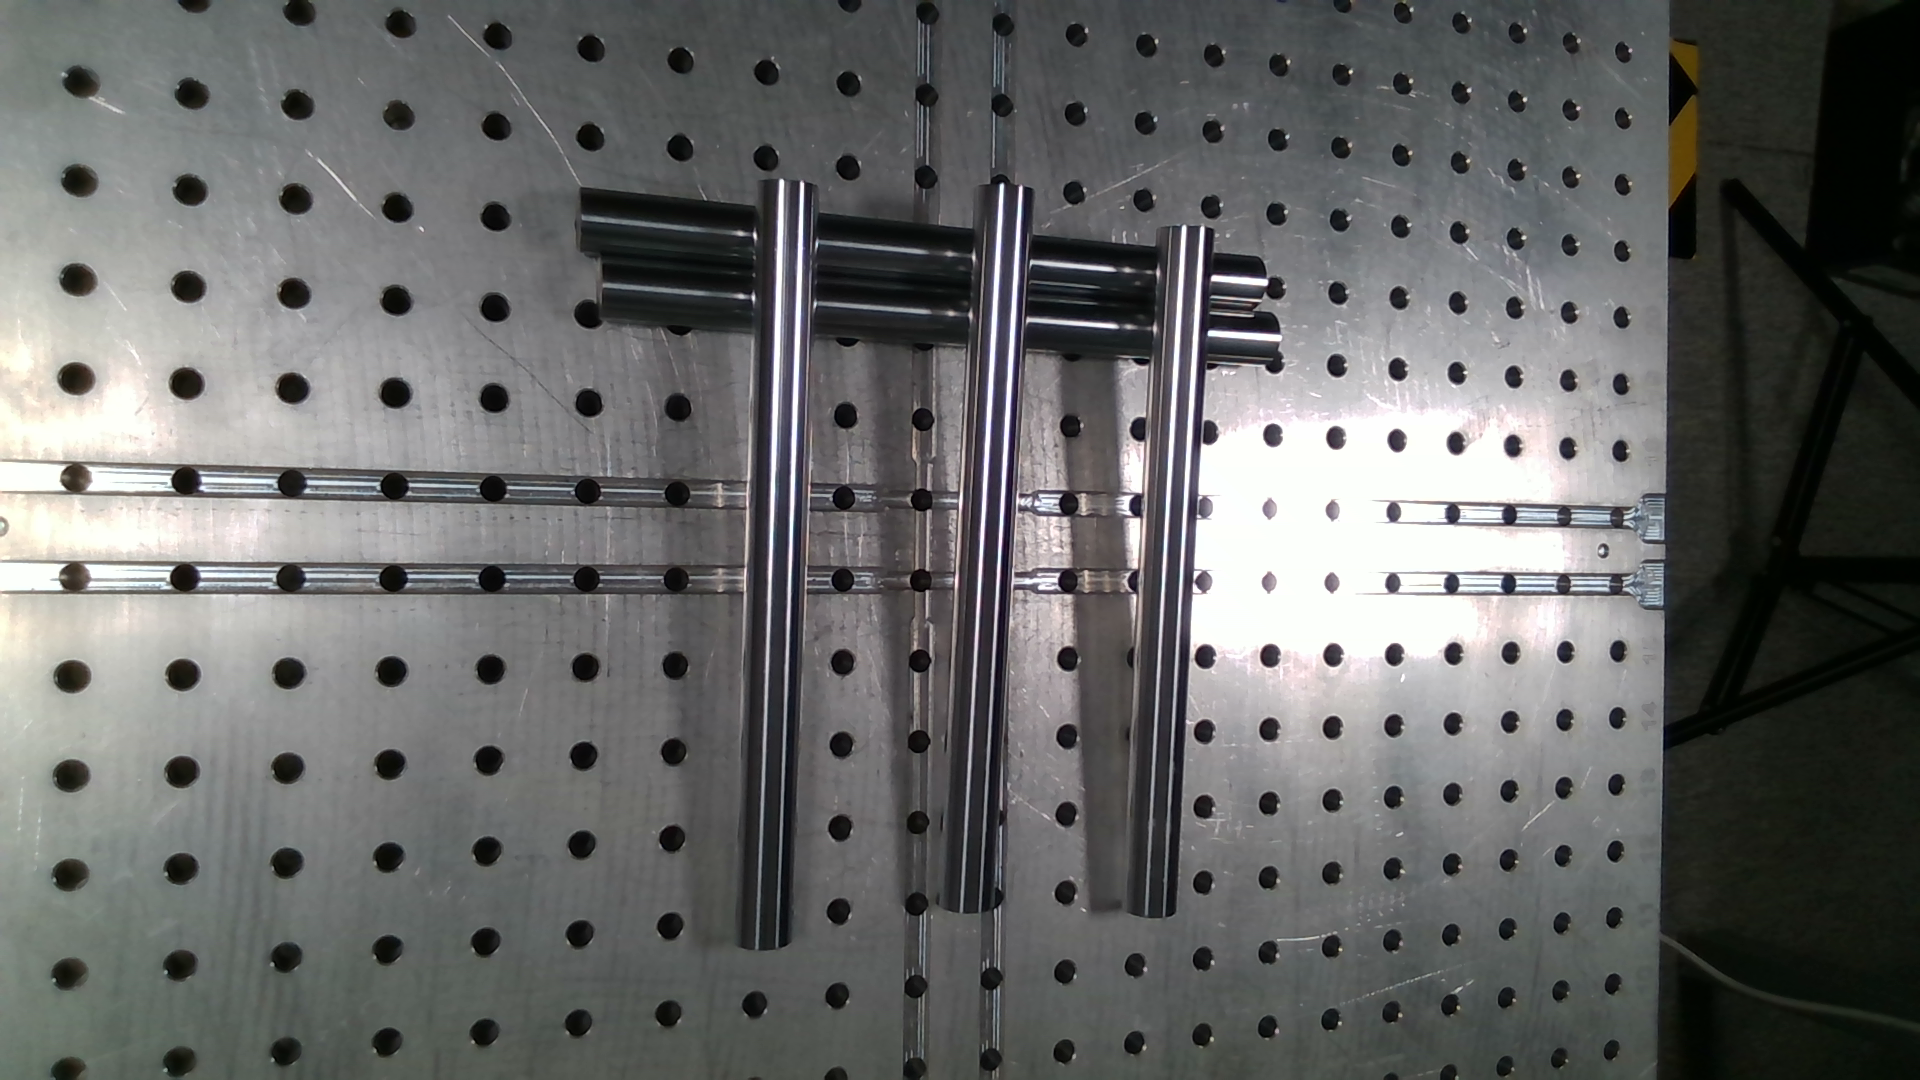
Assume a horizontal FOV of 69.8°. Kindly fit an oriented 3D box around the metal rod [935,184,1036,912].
[{"bbox_3d":[0.010,0.006,0.576,0.025,0.025,0.300,1,96,-20],"label":"metal rod"}]

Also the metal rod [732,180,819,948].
[{"bbox_3d":[-0.073,0.012,0.546,0.025,0.025,0.300,1,96,-20],"label":"metal rod"}]

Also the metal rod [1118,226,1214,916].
[{"bbox_3d":[0.090,0.016,0.607,0.025,0.025,0.300,0,96,-20],"label":"metal rod"}]

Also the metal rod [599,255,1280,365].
[{"bbox_3d":[0.001,-0.096,0.588,0.300,0.025,0.025,1,90,-20],"label":"metal rod"}]

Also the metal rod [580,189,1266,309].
[{"bbox_3d":[-0.006,-0.121,0.585,0.300,0.025,0.025,1,90,-20],"label":"metal rod"}]
